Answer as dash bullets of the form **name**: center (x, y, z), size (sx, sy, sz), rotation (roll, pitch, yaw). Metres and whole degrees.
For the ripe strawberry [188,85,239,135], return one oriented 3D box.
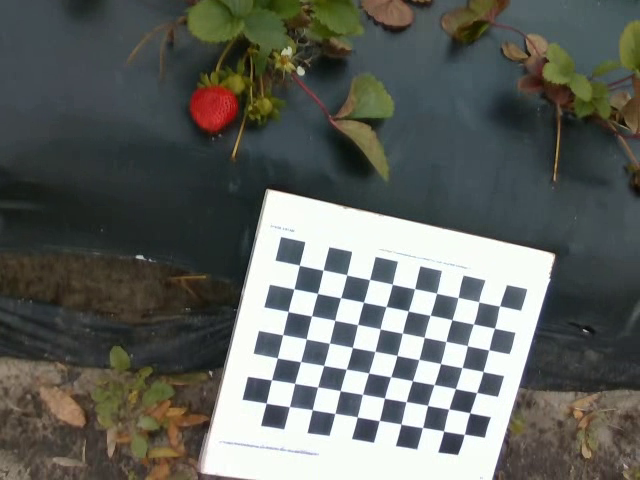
- **ripe strawberry**: center (-0.025, -0.034, 0.193), size (0.018, 0.017, 0.014), rotation (19, -39, -24)
